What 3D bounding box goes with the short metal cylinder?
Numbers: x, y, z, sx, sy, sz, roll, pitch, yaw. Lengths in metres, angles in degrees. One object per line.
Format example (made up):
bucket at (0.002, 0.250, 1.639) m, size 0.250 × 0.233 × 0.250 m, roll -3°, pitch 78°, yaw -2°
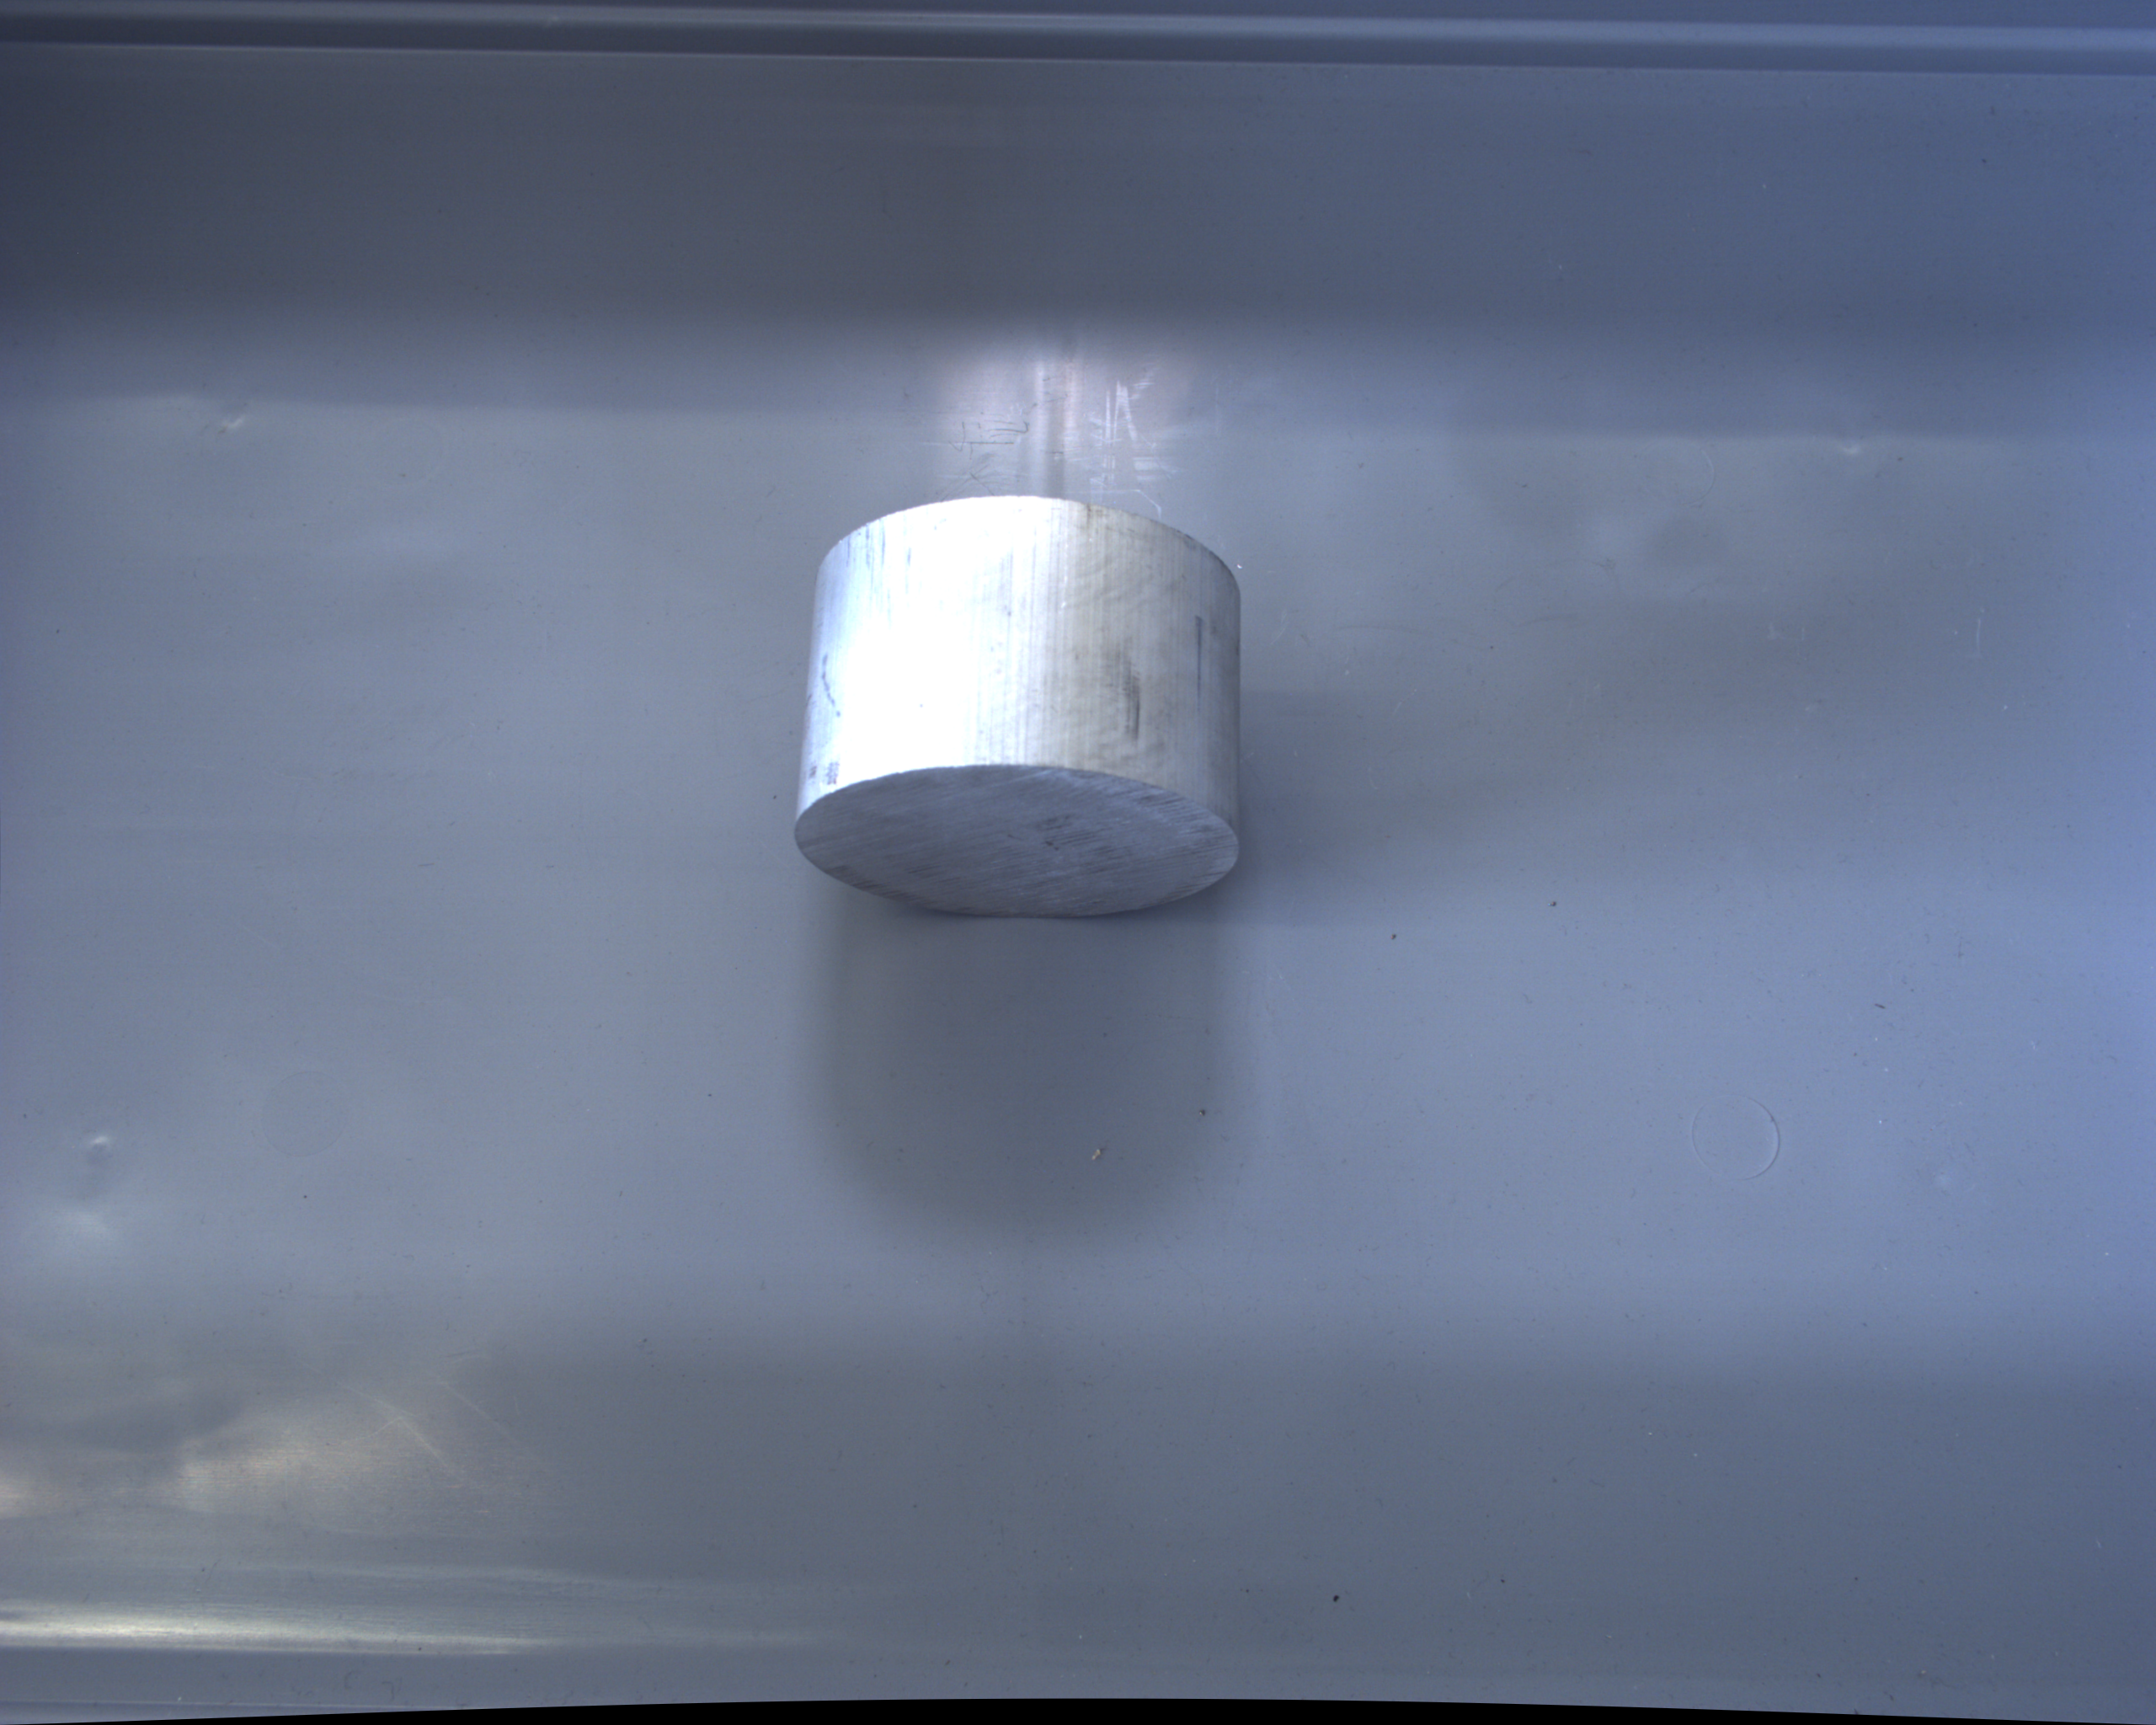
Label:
short metal cylinder at (-0.011, -0.026, 0.387) m, size 0.080 × 0.080 × 0.050 m, roll 2°, pitch 70°, yaw 1°
